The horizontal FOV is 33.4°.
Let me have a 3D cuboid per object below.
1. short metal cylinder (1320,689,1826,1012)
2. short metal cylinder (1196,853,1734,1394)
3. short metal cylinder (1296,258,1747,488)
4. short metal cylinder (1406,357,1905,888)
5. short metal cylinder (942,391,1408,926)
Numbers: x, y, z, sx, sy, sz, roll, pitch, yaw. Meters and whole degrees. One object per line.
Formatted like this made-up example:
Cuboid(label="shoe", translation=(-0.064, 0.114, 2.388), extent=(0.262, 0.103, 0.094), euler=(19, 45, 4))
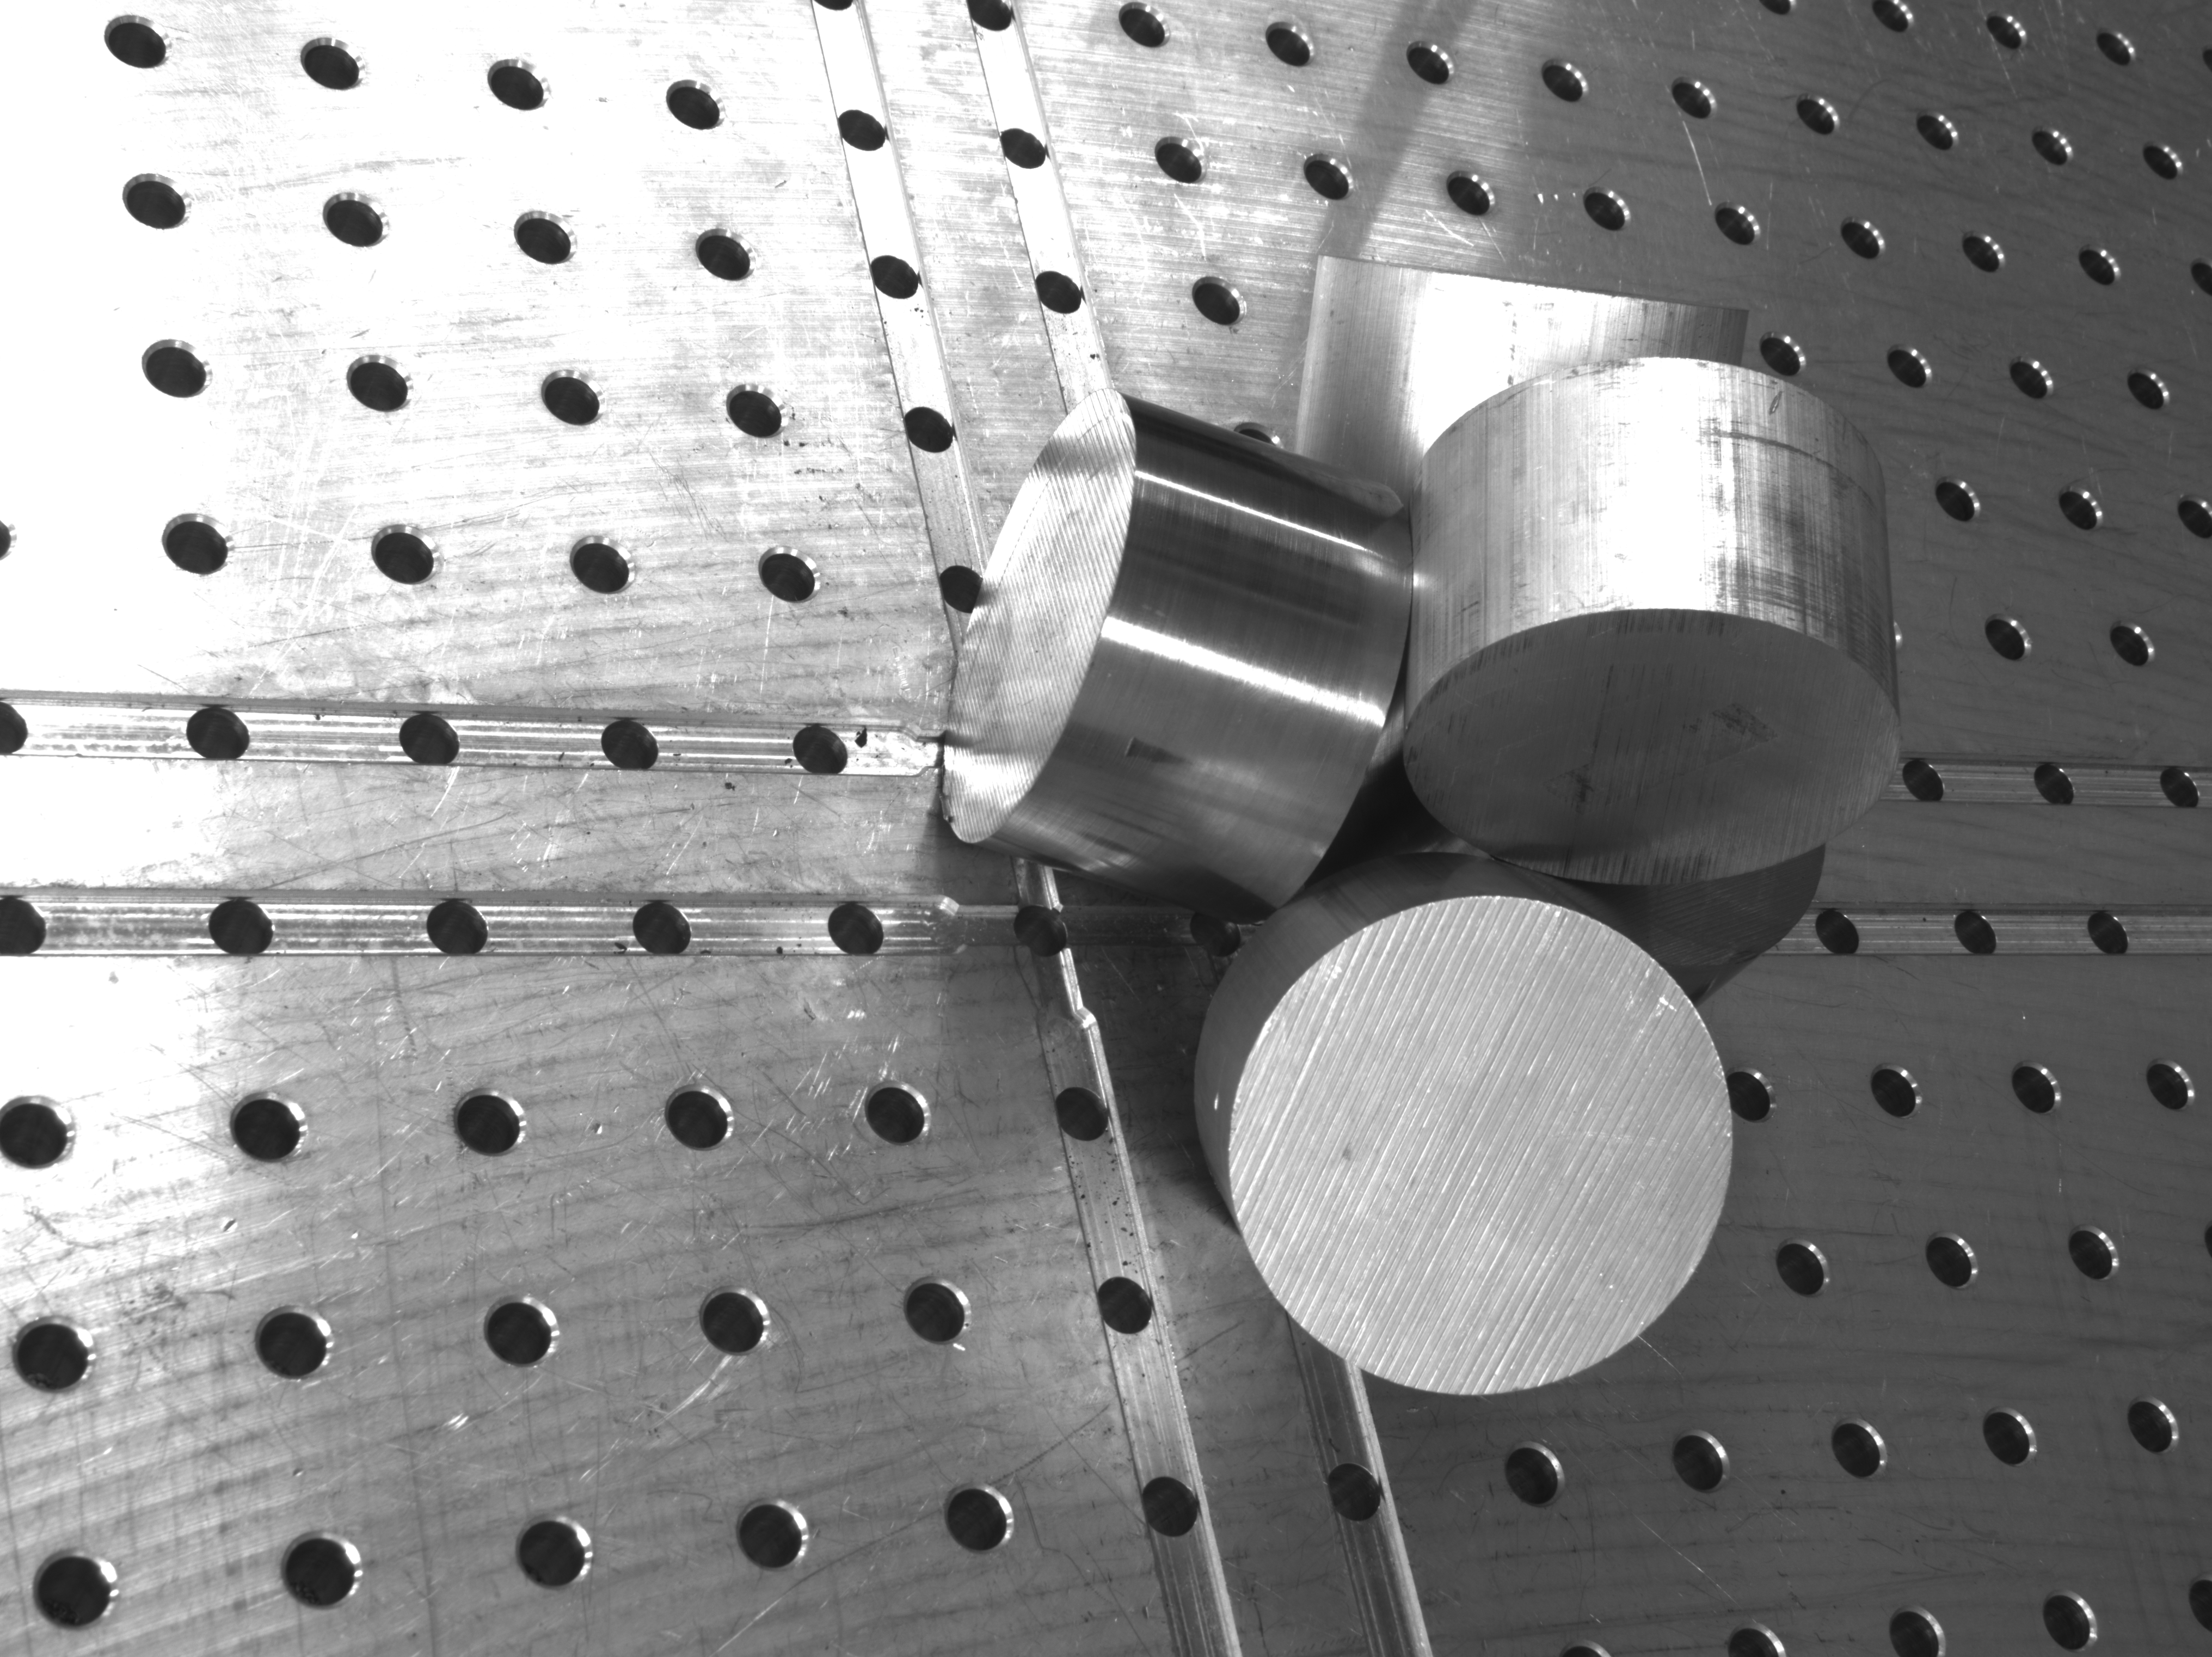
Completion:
Cuboid(label="short metal cylinder", translation=(0.083, 0.001, 0.669), extent=(0.080, 0.050, 0.080), euler=(13, 55, -20))
Cuboid(label="short metal cylinder", translation=(0.057, 0.046, 0.602), extent=(0.080, 0.050, 0.080), euler=(-1, 98, -5))
Cuboid(label="short metal cylinder", translation=(0.076, -0.076, 0.686), extent=(0.080, 0.080, 0.050), euler=(2, 100, -27))
Cuboid(label="short metal cylinder", translation=(0.090, -0.033, 0.610), extent=(0.080, 0.080, 0.050), euler=(16, 55, -19))
Cuboid(label="short metal cylinder", translation=(0.011, -0.029, 0.631), extent=(0.050, 0.080, 0.080), euler=(17, 55, -18))
